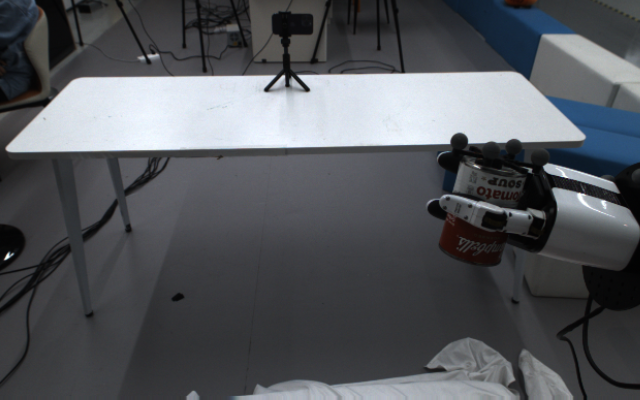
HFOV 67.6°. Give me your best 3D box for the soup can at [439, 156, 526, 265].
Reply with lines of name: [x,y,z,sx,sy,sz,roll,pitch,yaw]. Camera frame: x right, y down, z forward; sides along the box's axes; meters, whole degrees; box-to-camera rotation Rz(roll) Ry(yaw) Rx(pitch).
soup can: [0.173,0.010,0.513,0.067,0.101,0.067,9,19,-3]
